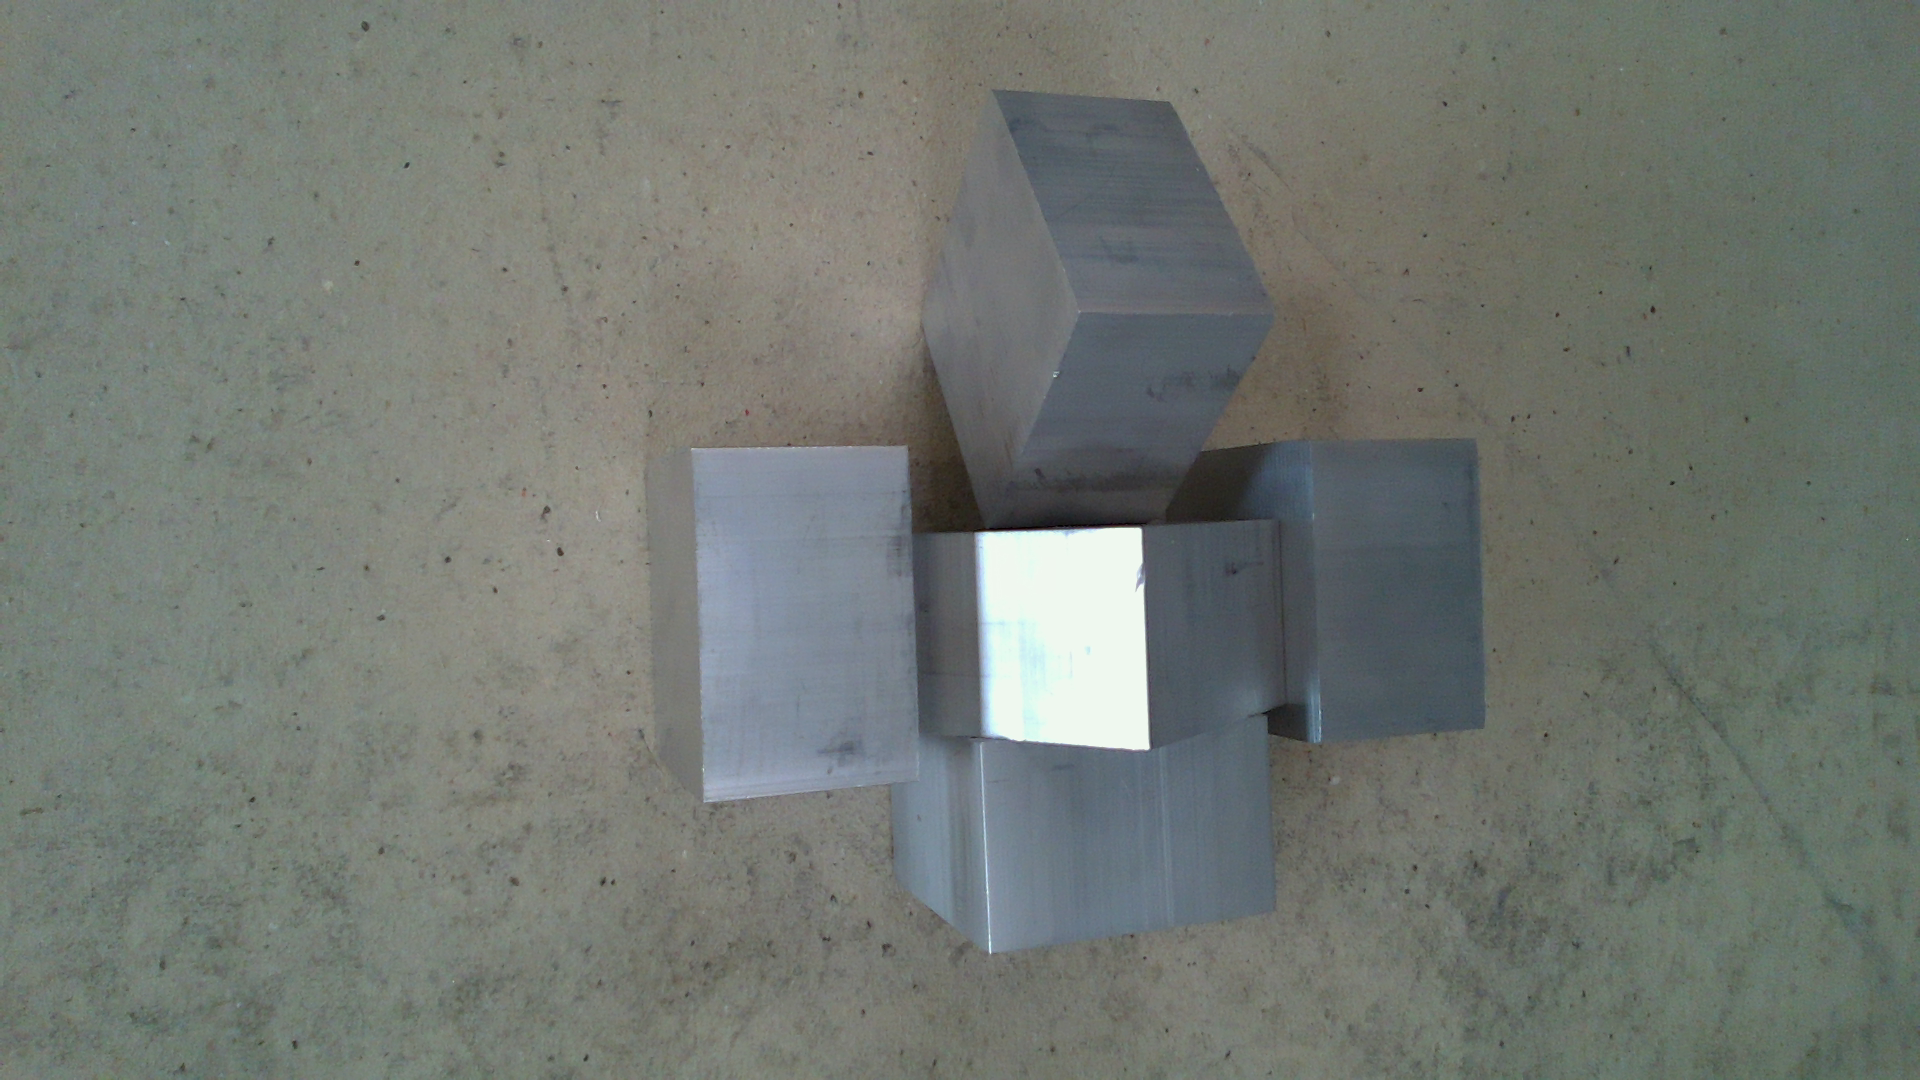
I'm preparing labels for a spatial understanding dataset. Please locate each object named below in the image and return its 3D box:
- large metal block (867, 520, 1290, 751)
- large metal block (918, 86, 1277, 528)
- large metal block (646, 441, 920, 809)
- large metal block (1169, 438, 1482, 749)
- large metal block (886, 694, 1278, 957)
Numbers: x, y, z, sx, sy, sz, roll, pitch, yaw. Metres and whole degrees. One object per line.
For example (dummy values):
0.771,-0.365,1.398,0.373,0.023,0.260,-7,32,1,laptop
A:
0.032,0.022,0.361,0.080,0.080,0.050,-3,91,-55,large metal block
0.030,-0.059,0.360,0.050,0.080,0.080,-3,54,-20,large metal block
-0.048,0.018,0.346,0.050,0.080,0.080,-2,91,-20,large metal block
0.103,0.014,0.402,0.050,0.080,0.080,-2,90,-21,large metal block
0.030,0.072,0.376,0.080,0.080,0.050,-3,91,-20,large metal block
